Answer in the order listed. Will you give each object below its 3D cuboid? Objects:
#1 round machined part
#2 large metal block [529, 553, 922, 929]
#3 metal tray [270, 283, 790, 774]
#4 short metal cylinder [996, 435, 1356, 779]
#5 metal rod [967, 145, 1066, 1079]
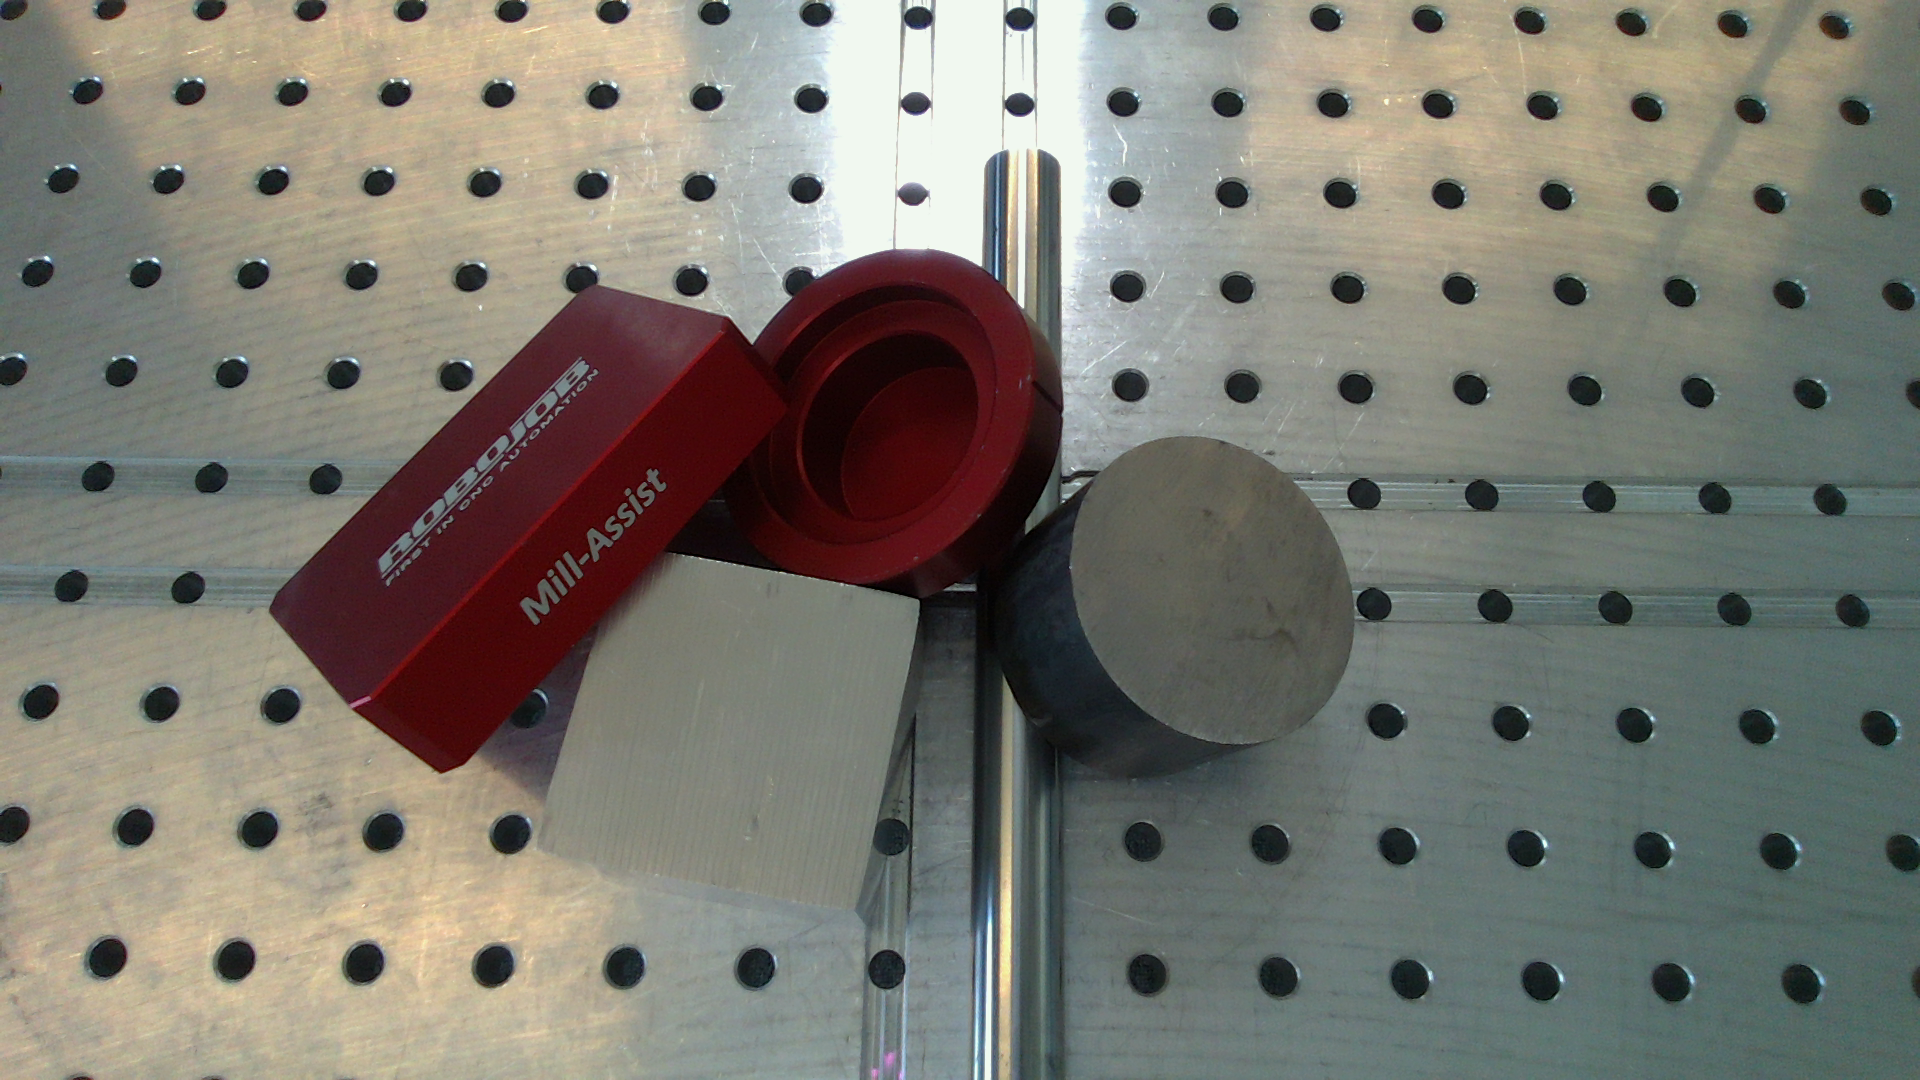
[{"bbox_3d":[-0.016,-0.029,0.385,0.098,0.042,0.098,-10,67,24],"label":"round machined part"},{"bbox_3d":[-0.057,0.053,0.364,0.080,0.050,0.080,10,70,3],"label":"large metal block"},{"bbox_3d":[-0.117,-0.010,0.371,0.130,0.030,0.090,-50,39,-16],"label":"metal tray"},{"bbox_3d":[0.056,0.019,0.363,0.080,0.050,0.080,7,69,-19],"label":"short metal cylinder"},{"bbox_3d":[0.017,0.022,0.390,0.025,0.025,0.300,1,70,0],"label":"metal rod"}]
